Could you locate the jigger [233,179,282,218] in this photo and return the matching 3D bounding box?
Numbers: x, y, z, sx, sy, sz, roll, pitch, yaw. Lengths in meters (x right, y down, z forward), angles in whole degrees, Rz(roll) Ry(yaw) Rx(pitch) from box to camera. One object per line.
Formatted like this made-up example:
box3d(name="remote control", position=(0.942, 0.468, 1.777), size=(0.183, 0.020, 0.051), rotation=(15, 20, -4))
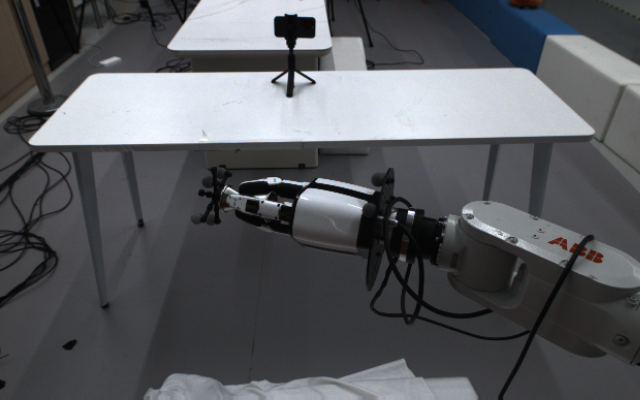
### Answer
box3d(name="jigger", position=(-0.093, 0.000, 0.664), size=(0.071, 0.043, 0.043), rotation=(10, 35, 16))
